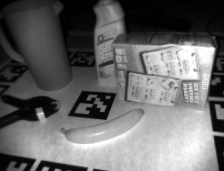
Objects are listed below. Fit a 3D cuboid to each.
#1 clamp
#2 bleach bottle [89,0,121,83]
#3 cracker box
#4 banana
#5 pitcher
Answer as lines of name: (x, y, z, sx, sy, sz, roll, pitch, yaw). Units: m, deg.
clamp: (-0.224, 0.051, 0.579, 0.165, 0.037, 0.121, -5, 36, 1)
bleach bottle: (-0.023, -0.125, 0.599, 0.102, 0.252, 0.068, 3, 38, 16)
cracker box: (0.109, -0.047, 0.521, 0.212, 0.165, 0.072, 4, 36, 17)
banana: (-0.019, 0.087, 0.510, 0.198, 0.039, 0.073, -17, 38, -12)
pitcher: (-0.215, -0.128, 0.605, 0.189, 0.244, 0.132, -6, 37, -1)
